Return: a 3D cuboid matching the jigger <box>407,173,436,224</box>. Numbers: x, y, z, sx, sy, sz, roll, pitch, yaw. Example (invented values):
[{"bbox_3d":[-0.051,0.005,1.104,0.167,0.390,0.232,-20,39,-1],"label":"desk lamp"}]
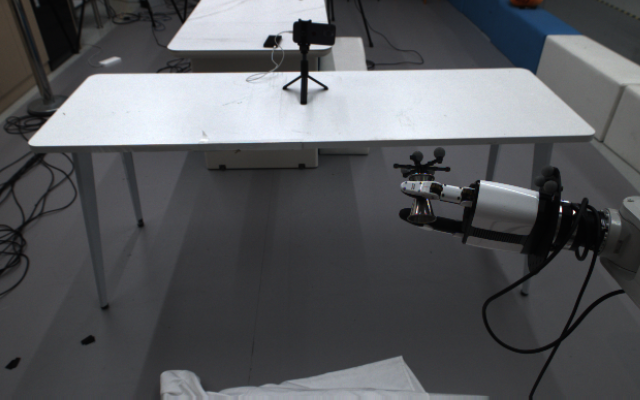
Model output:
[{"bbox_3d":[0.155,-0.003,0.747,0.043,0.043,0.071,3,71,2],"label":"jigger"}]
